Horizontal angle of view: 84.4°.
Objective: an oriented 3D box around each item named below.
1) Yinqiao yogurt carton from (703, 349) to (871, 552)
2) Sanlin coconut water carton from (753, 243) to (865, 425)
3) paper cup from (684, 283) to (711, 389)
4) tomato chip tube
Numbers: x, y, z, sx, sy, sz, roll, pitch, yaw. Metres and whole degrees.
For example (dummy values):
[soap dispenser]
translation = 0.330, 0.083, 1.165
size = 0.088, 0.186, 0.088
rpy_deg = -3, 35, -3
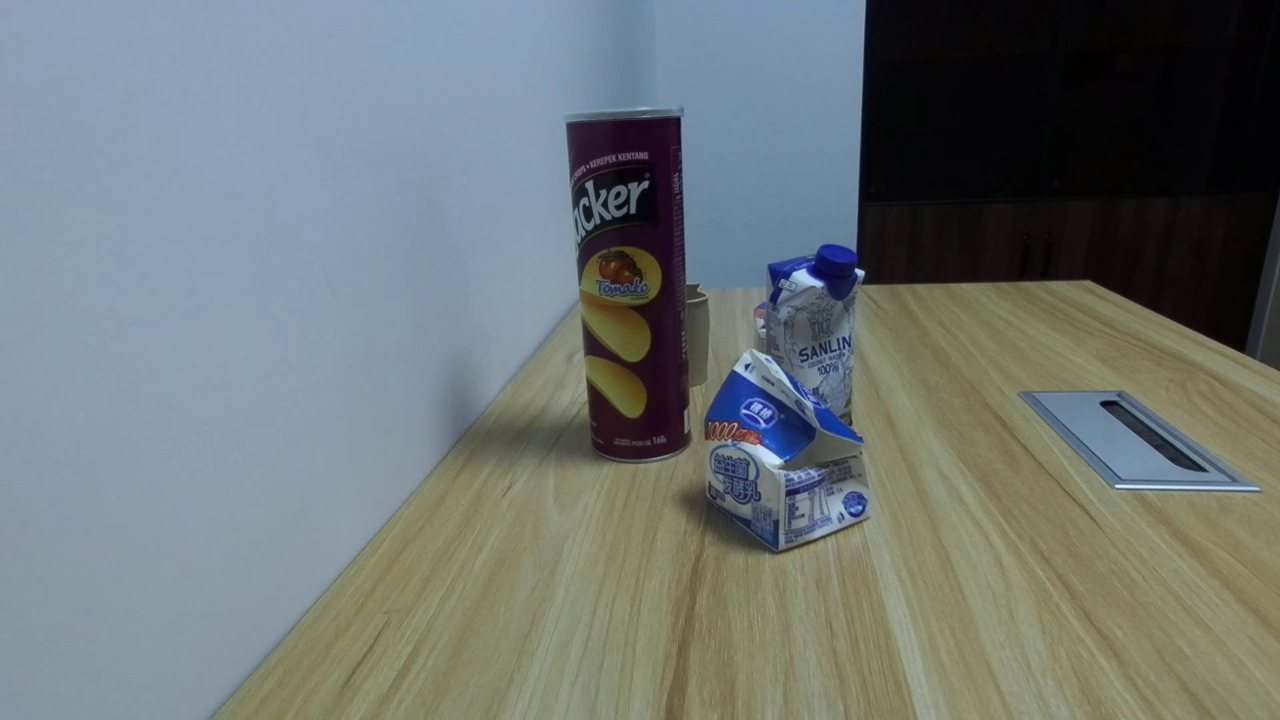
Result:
[Yinqiao yogurt carton]
translation = 0.084, 0.045, 0.416
size = 0.077, 0.093, 0.083
rpy_deg = -13, 22, -27
[Sanlin coconut water carton]
translation = 0.126, -0.015, 0.518
size = 0.078, 0.142, 0.057
rpy_deg = -15, 27, -33
[paper cup]
translation = 0.033, -0.019, 0.641
size = 0.073, 0.081, 0.069
rpy_deg = 8, 18, 38
[tomato chip tube]
translation = -0.004, -0.049, 0.497
size = 0.078, 0.234, 0.078
rpy_deg = -3, 17, 1
